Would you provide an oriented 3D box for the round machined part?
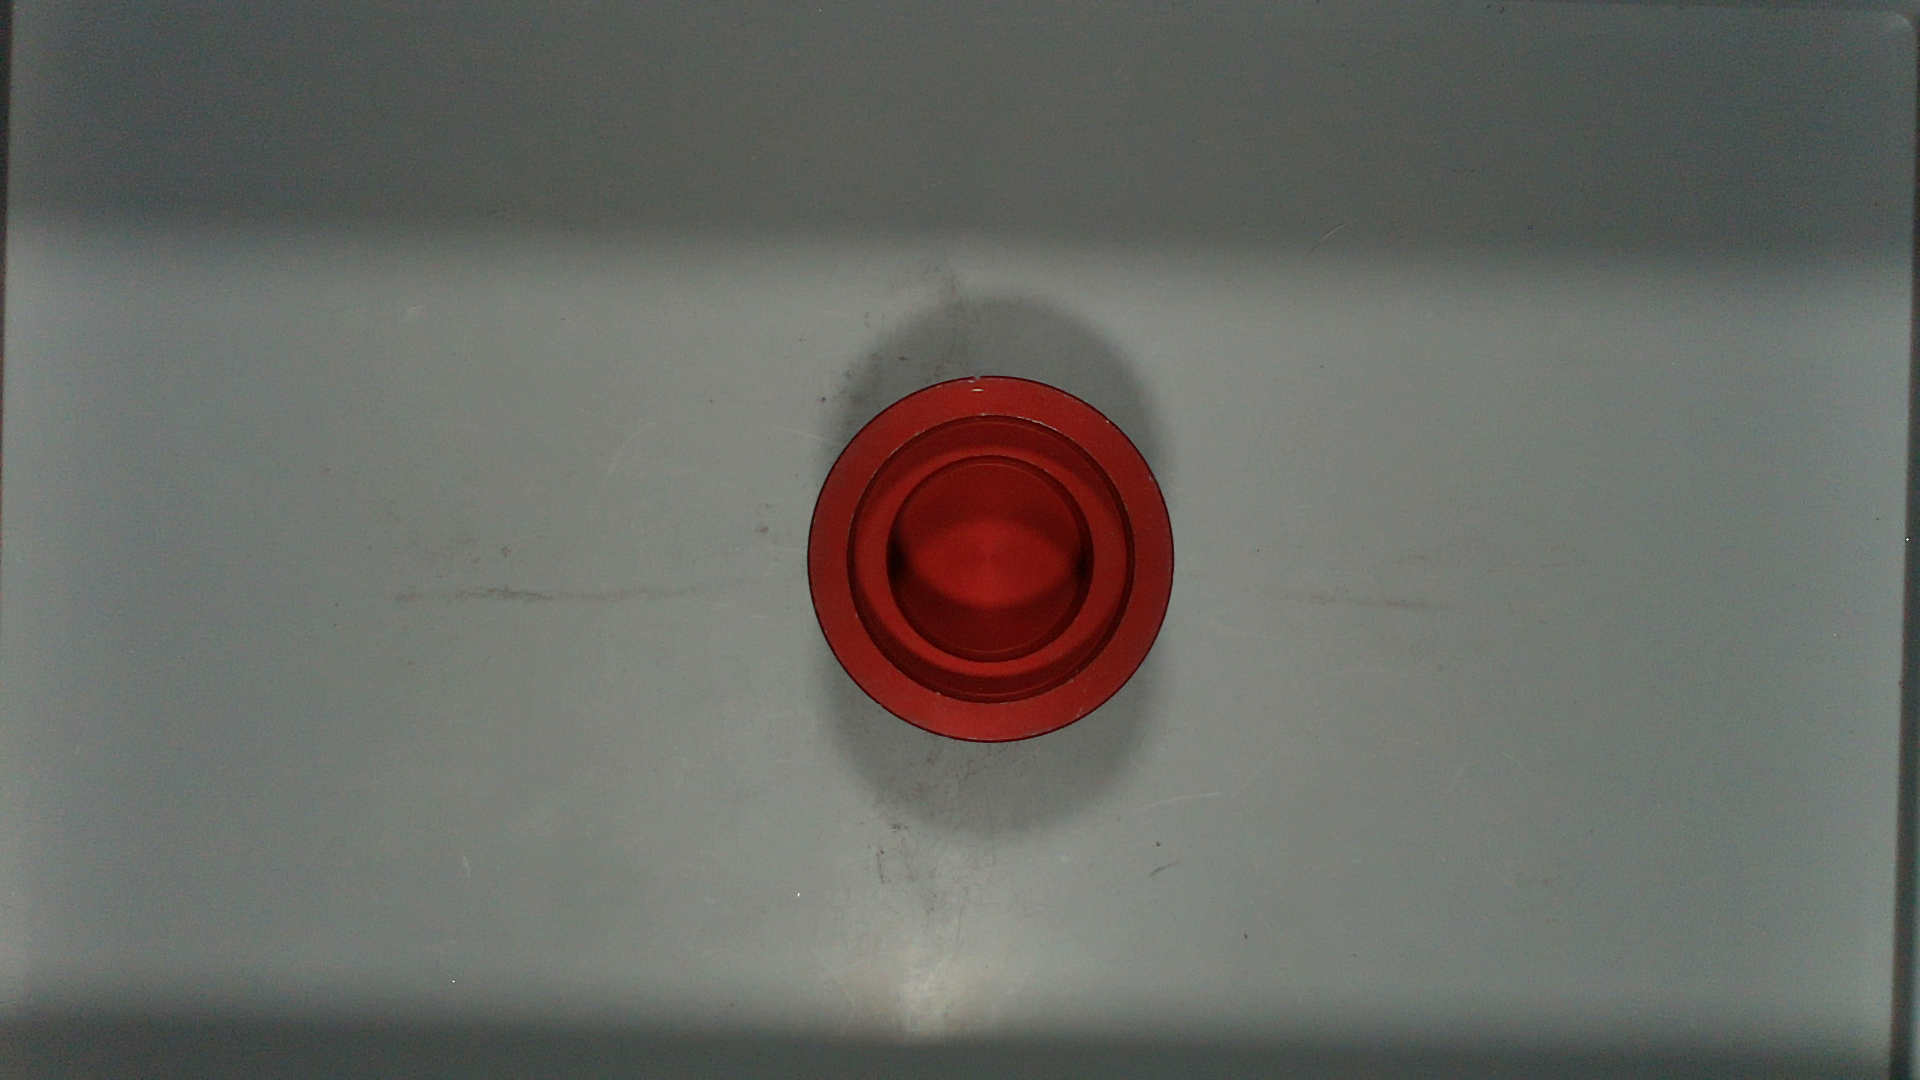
[{"bbox_3d":[0.008,0.005,0.384,0.098,0.042,0.098,0,90,0],"label":"round machined part"}]
